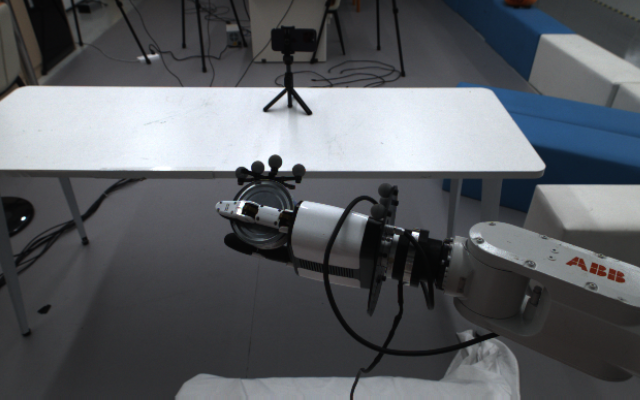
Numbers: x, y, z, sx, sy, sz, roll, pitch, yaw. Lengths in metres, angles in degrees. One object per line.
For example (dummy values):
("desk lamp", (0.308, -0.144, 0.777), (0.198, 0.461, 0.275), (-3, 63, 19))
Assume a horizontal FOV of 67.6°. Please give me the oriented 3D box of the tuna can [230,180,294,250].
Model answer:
("tuna can", (-0.069, 0.018, 0.615), (0.085, 0.034, 0.085), (-5, 70, 14))
